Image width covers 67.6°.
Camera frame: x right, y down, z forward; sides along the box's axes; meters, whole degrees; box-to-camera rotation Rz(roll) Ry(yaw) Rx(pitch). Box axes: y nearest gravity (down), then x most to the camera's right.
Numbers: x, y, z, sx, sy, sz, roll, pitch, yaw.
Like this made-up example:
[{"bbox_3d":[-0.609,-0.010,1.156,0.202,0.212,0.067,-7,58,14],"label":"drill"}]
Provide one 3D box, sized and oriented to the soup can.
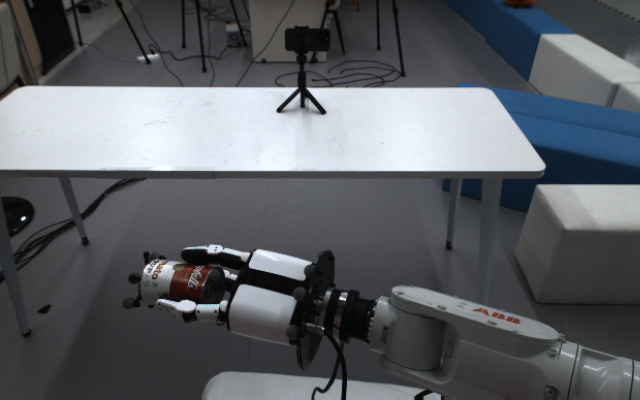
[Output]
[{"bbox_3d":[-0.193,0.125,0.688,0.101,0.067,0.067,5,34,14],"label":"soup can"}]
